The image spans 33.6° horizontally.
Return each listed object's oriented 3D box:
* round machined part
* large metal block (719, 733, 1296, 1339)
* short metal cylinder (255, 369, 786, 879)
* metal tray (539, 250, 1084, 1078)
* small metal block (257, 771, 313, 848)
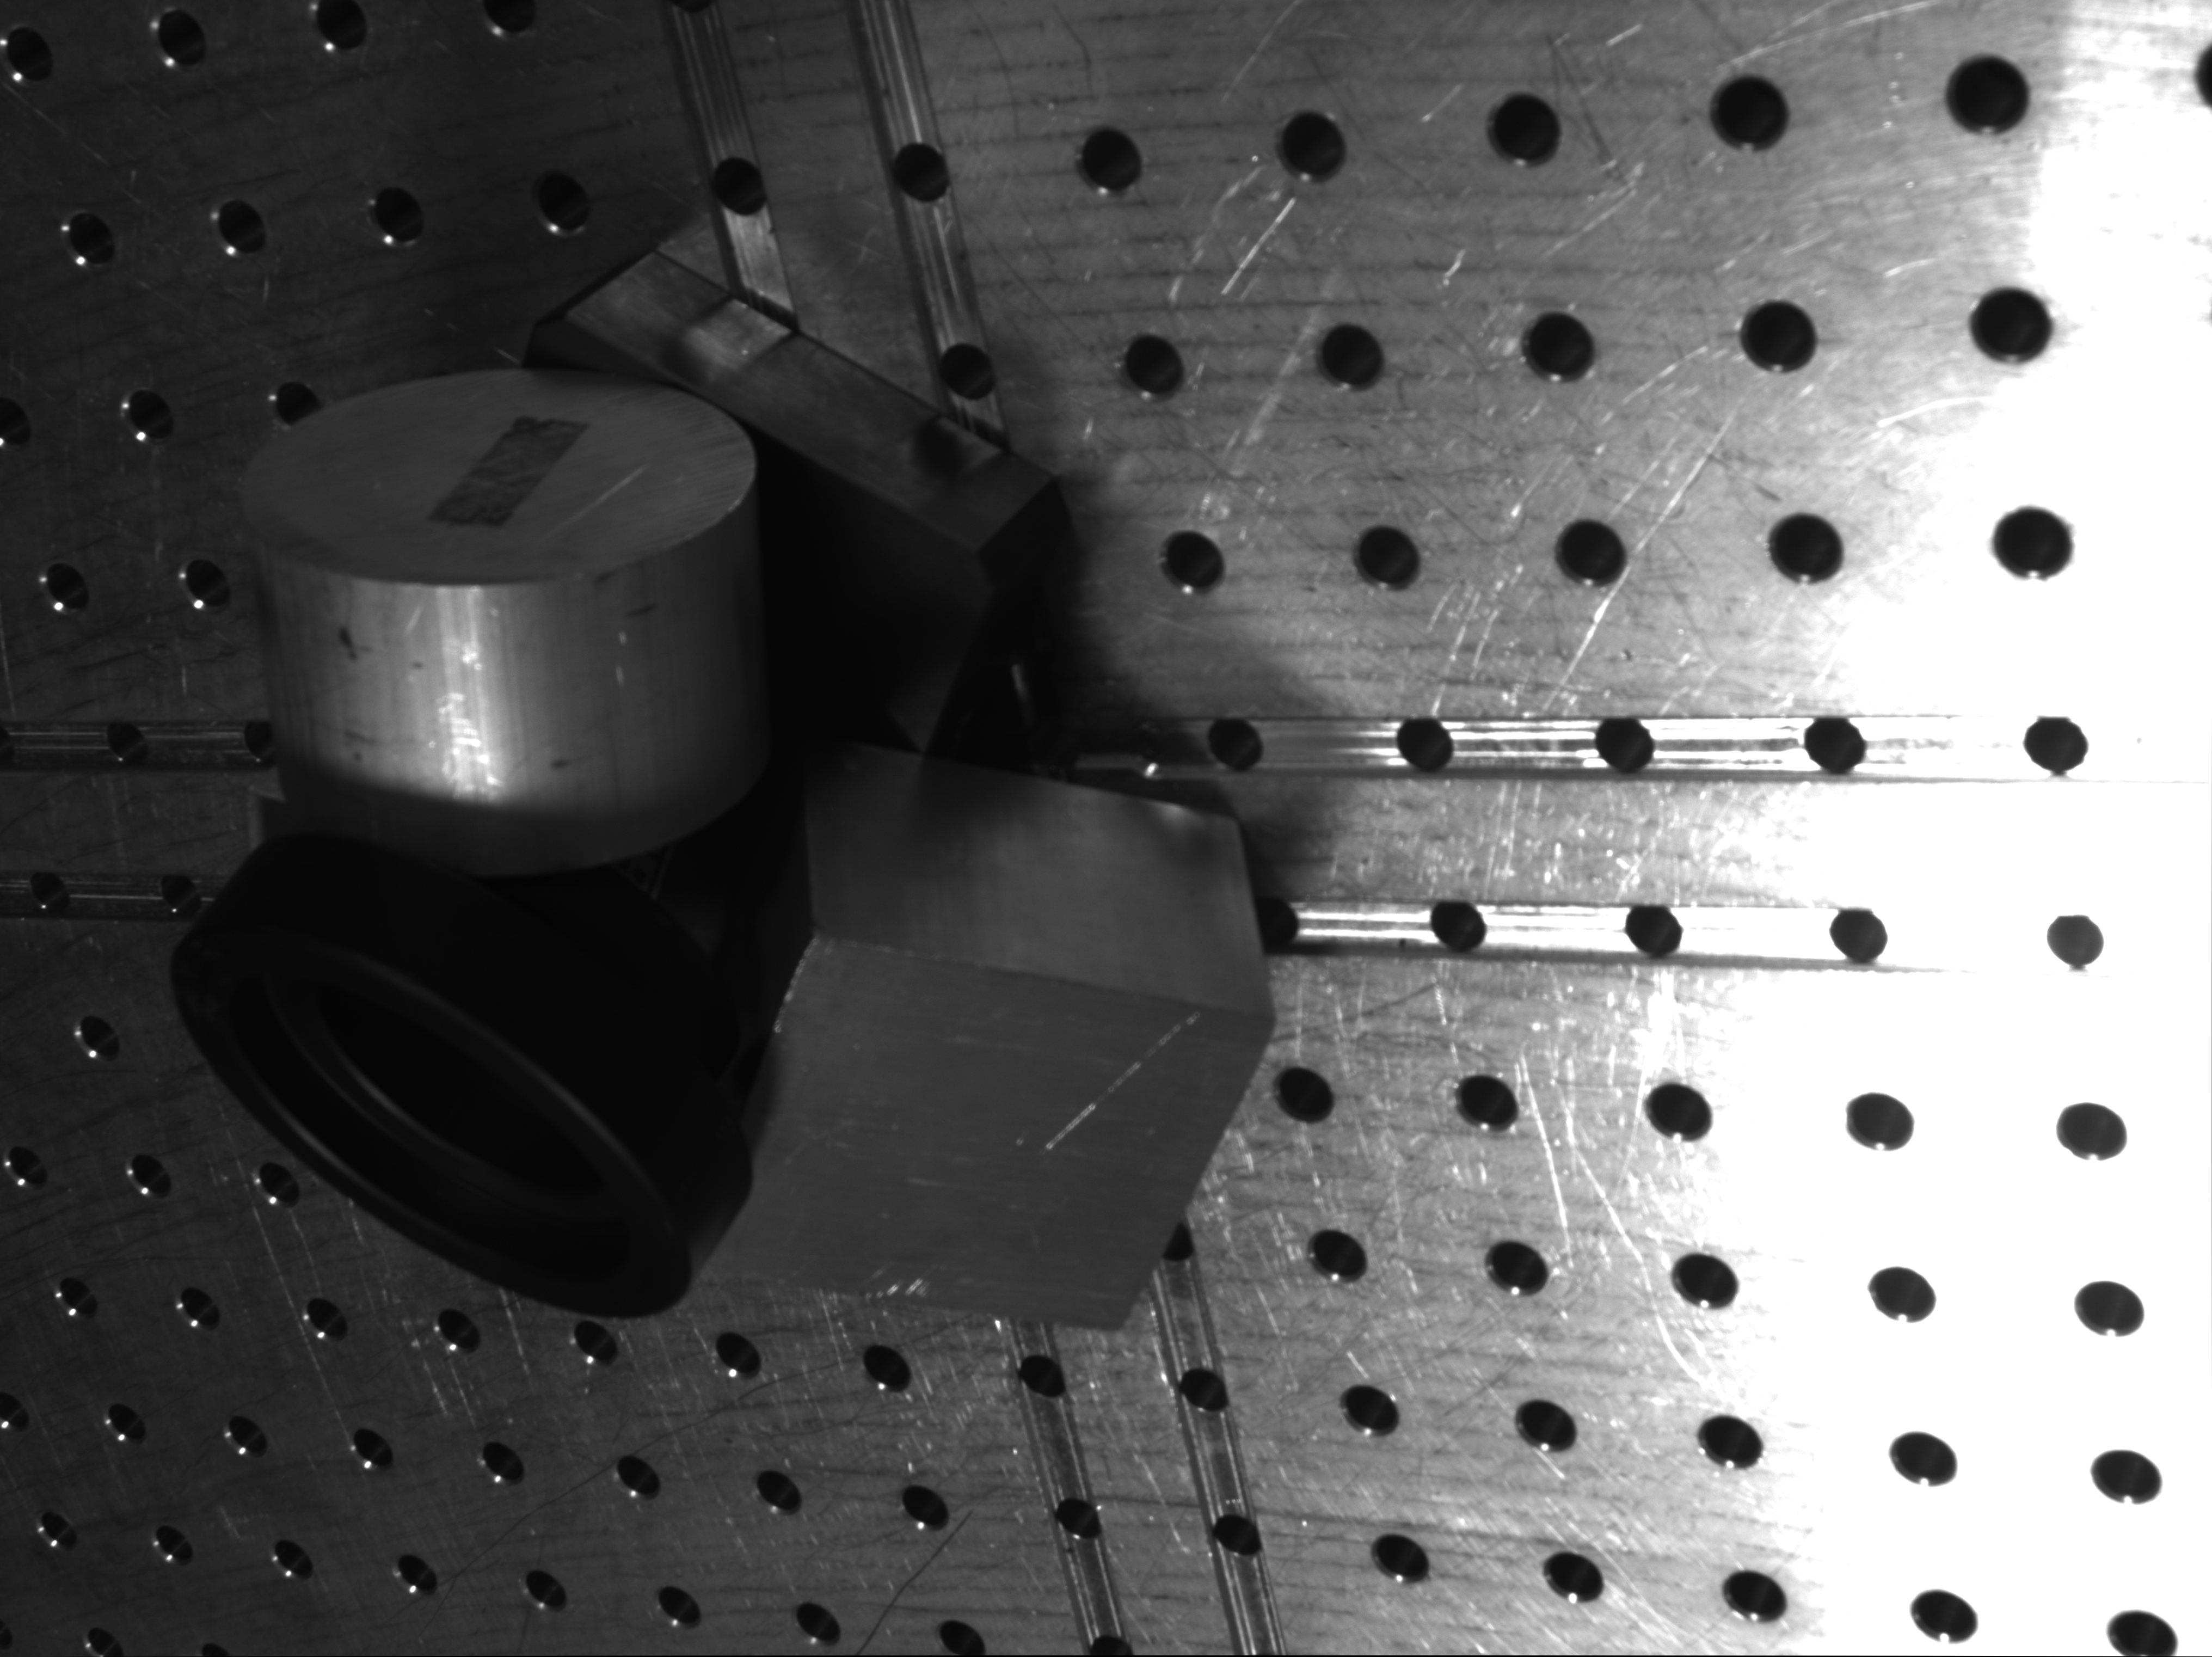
[{"bbox_3d":[-0.097,0.034,0.597,0.098,0.042,0.098,23,149,15],"label":"round machined part"},{"bbox_3d":[-0.022,0.037,0.628,0.080,0.050,0.080,11,129,-17],"label":"large metal block"},{"bbox_3d":[-0.092,-0.034,0.586,0.080,0.080,0.050,12,123,20],"label":"short metal cylinder"},{"bbox_3d":[-0.067,-0.025,0.650,0.090,0.030,0.130,30,127,8],"label":"metal tray"},{"bbox_3d":[-0.123,0.007,0.644,0.025,0.050,0.050,18,125,17],"label":"small metal block"}]
